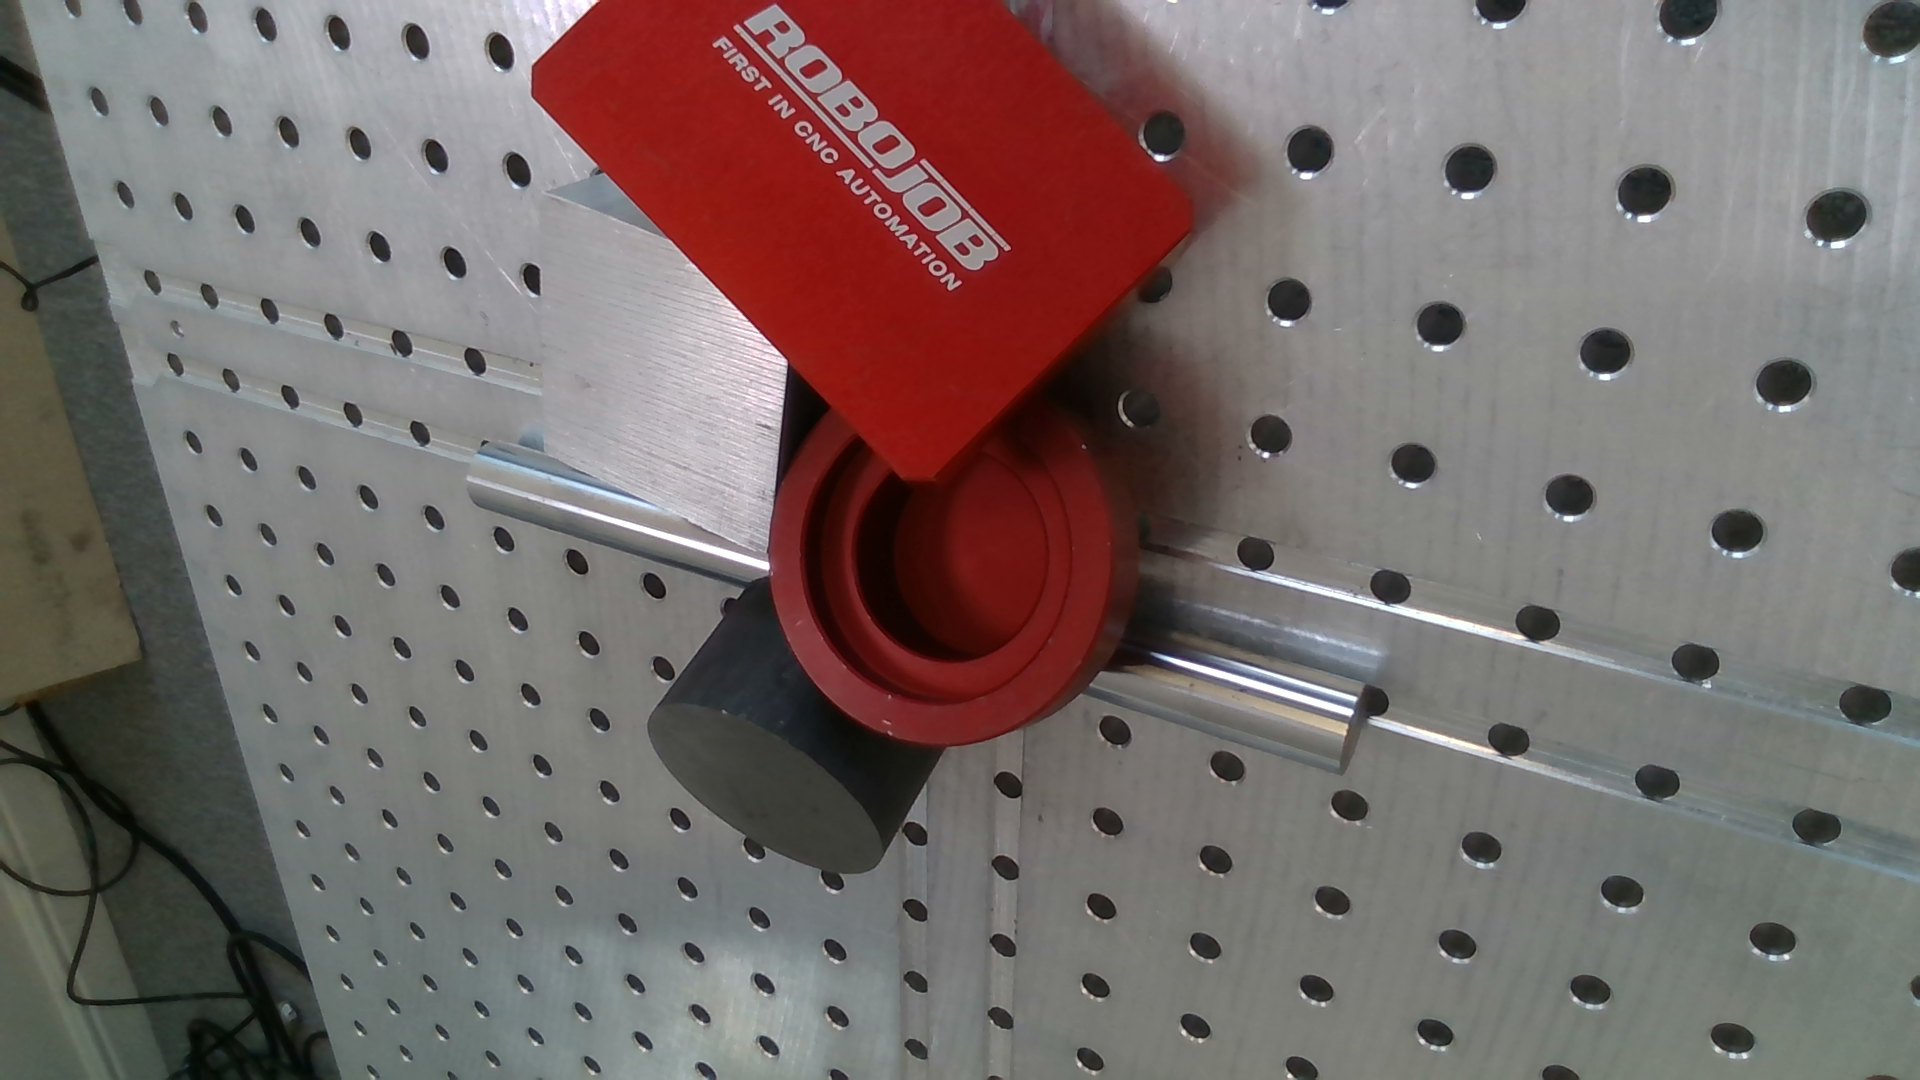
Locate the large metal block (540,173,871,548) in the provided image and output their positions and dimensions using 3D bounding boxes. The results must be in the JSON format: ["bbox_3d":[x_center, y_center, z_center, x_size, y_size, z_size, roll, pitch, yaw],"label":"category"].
[{"bbox_3d":[-0.070,-0.054,0.389,0.080,0.050,0.080,24,125,19],"label":"large metal block"}]

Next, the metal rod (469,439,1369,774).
[{"bbox_3d":[-0.030,0.013,0.418,0.300,0.025,0.025,15,122,24],"label":"metal rod"}]

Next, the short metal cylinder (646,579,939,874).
[{"bbox_3d":[-0.047,0.057,0.419,0.080,0.050,0.080,21,144,16],"label":"short metal cylinder"}]

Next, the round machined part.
[{"bbox_3d":[0.001,0.004,0.366,0.098,0.042,0.098,0,90,25],"label":"round machined part"}]

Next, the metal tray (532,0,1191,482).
[{"bbox_3d":[-0.022,-0.088,0.323,0.090,0.030,0.130,-44,88,1],"label":"metal tray"}]
